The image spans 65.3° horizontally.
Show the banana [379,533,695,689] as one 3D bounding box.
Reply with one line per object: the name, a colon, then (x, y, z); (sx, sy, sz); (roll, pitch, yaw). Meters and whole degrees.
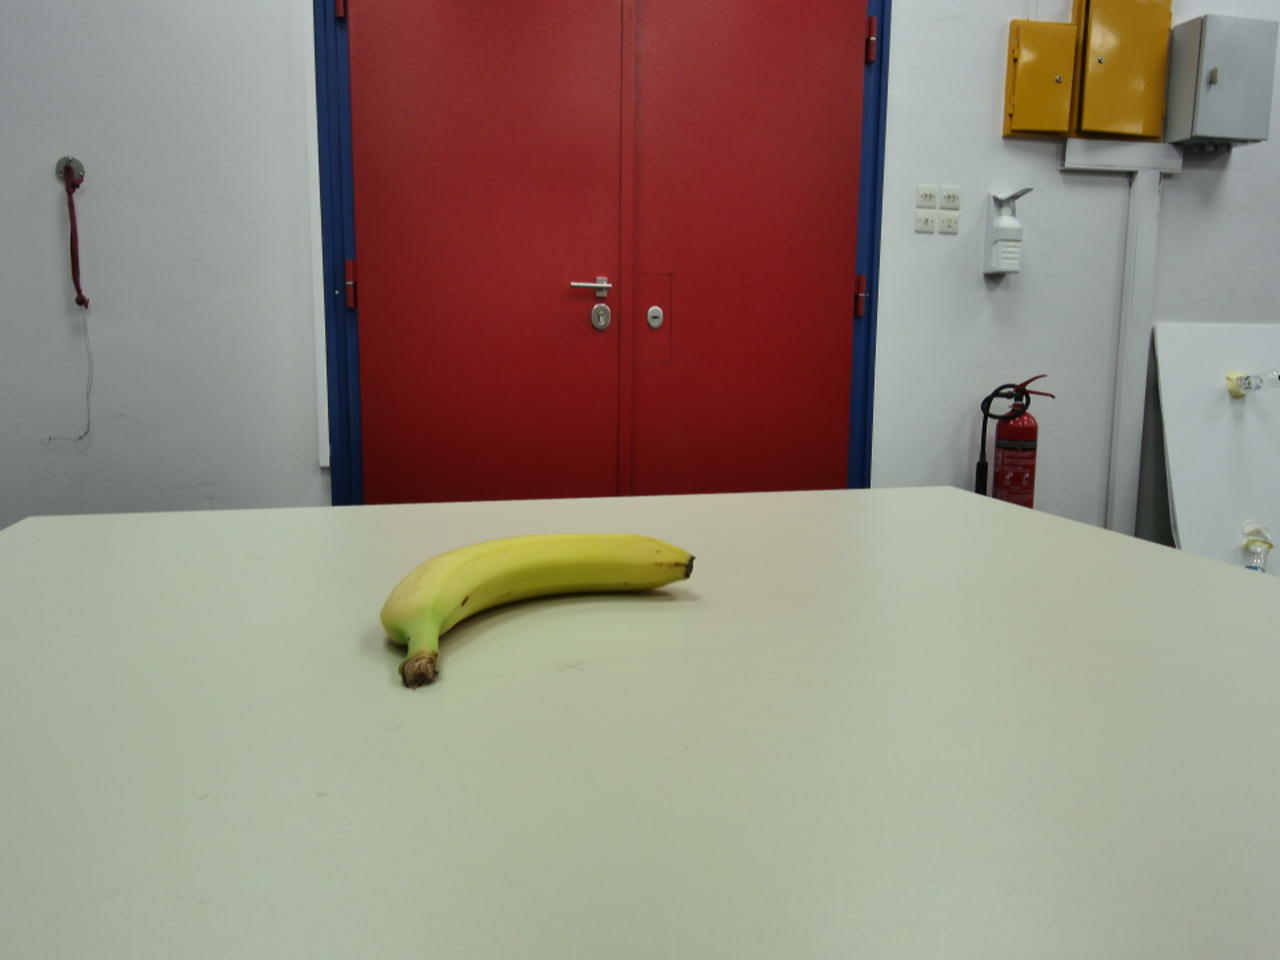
banana: (-0.063, 0.055, 0.513); (0.094, 0.041, 0.196); (5, 9, 41)
